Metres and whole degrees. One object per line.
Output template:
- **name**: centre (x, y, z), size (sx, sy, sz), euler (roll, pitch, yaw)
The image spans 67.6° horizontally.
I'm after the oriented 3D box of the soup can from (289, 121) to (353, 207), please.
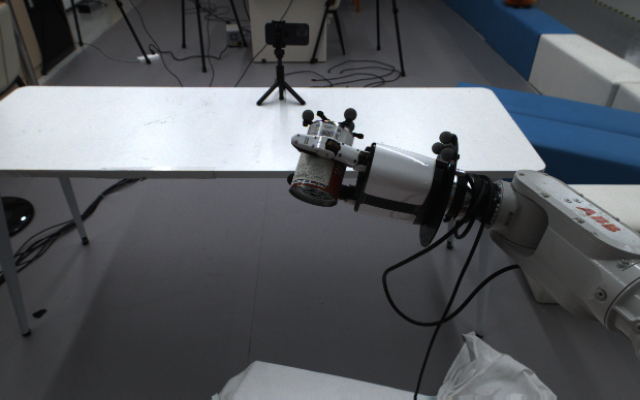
- **soup can**: centre (0.004, -0.050, 0.667), size (0.067, 0.067, 0.101), euler (11, 72, 13)
